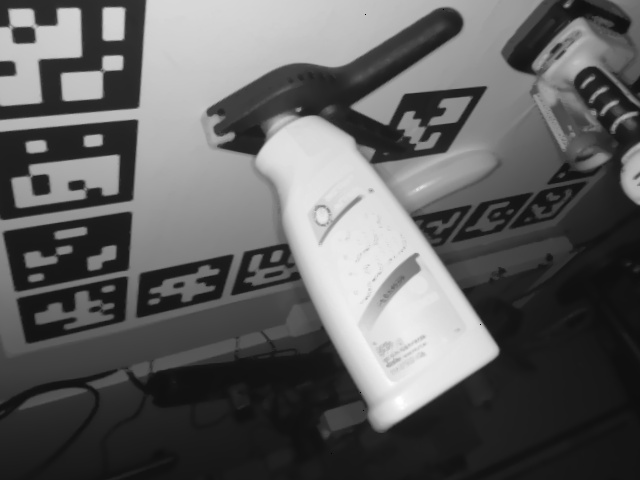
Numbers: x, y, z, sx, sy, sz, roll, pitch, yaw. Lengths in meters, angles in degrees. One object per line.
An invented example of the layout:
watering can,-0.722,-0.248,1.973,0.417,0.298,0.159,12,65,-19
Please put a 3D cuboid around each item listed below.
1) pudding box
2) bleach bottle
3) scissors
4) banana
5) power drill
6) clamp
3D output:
pudding box,0.315,-0.133,0.712,0.115,0.090,0.038,-7,153,-27
bleach bottle,0.029,-0.002,0.520,0.103,0.250,0.067,-26,156,-11
scissors,0.344,-0.079,0.690,0.205,0.016,0.086,12,131,-40
banana,0.151,-0.039,0.783,0.196,0.039,0.075,-31,167,10
power drill,0.307,-0.110,0.586,0.187,0.187,0.056,-4,152,-36
clamp,0.027,-0.101,0.574,0.205,0.037,0.163,-13,147,-17
